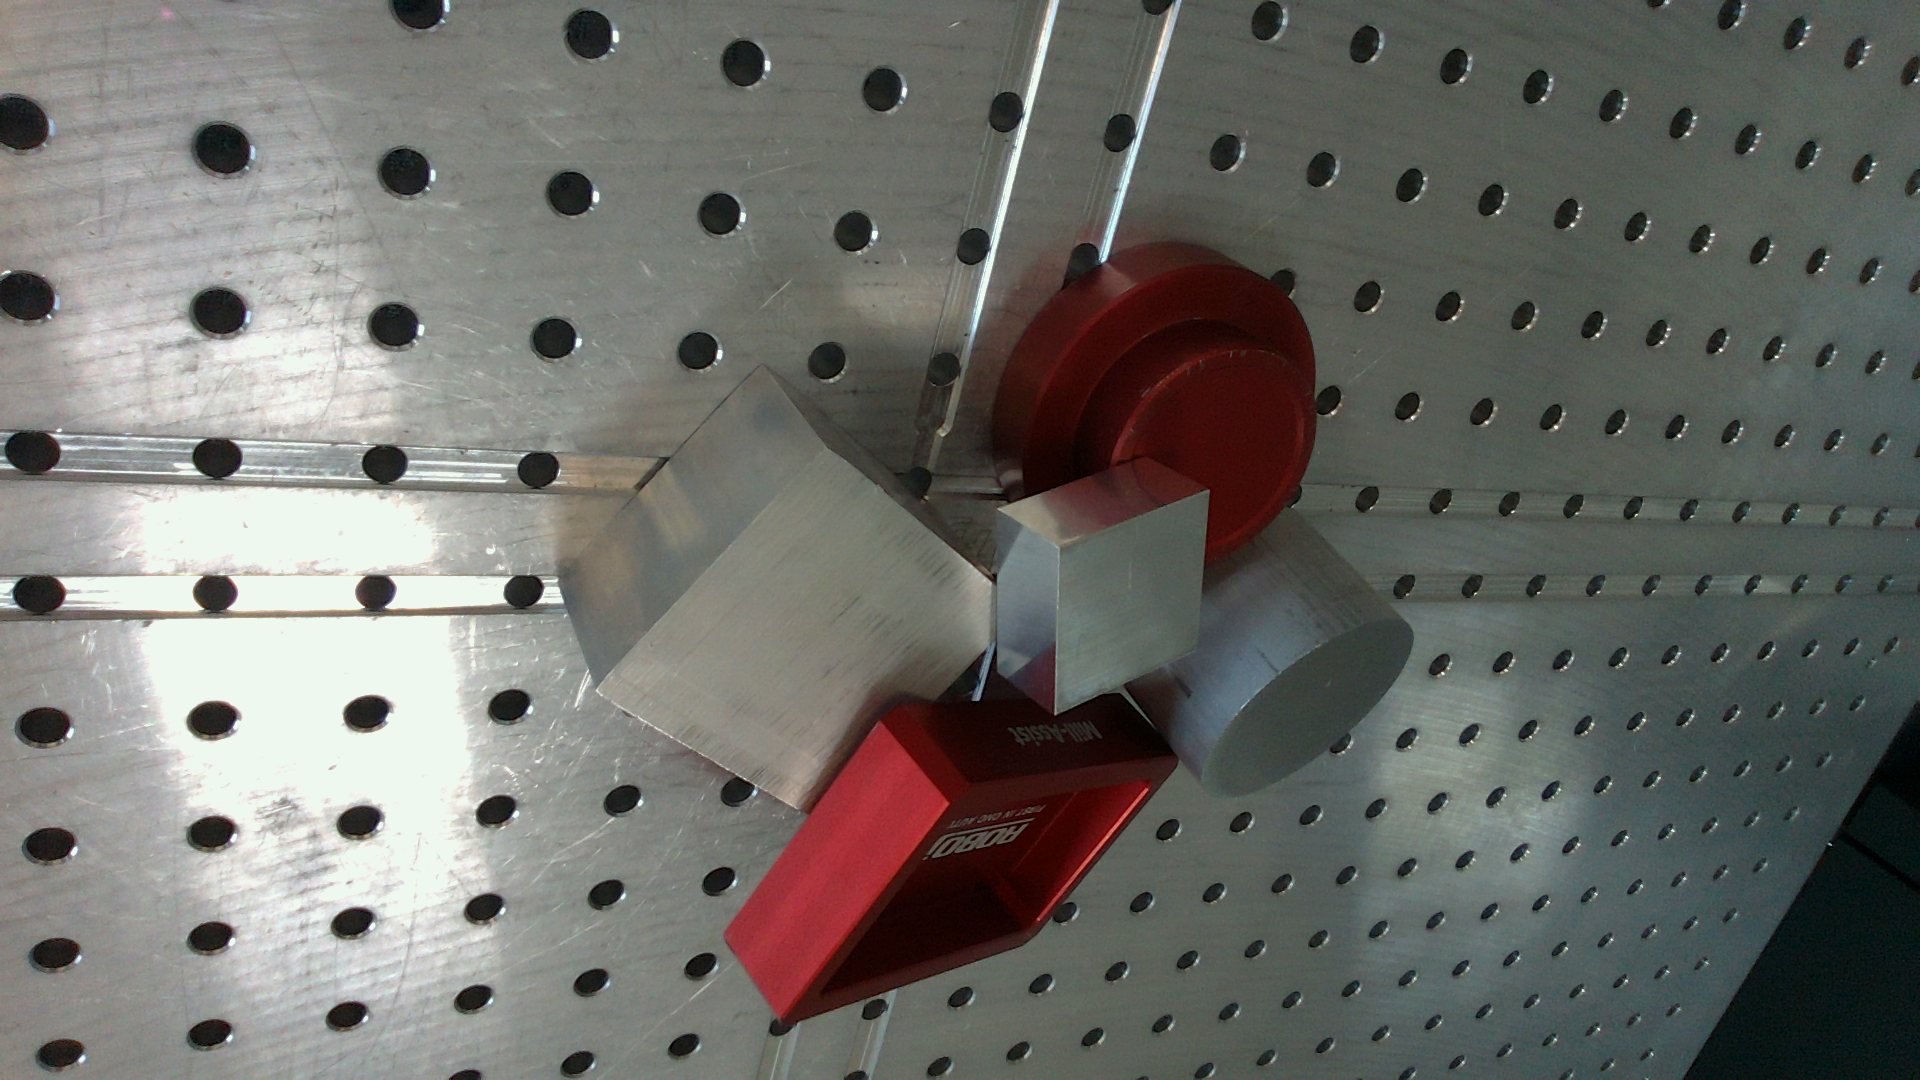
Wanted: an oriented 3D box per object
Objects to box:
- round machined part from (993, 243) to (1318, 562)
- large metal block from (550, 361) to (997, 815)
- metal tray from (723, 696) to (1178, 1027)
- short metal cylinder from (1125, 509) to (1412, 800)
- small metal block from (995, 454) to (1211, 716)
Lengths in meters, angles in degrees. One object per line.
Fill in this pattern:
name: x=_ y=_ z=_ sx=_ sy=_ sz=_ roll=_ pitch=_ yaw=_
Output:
round machined part: x=0.062 y=-0.031 z=0.395 sx=0.098 sy=0.042 sz=0.098 roll=-14 pitch=124 yaw=-21
large metal block: x=-0.045 y=0.015 z=0.361 sx=0.080 sy=0.050 sz=0.080 roll=-46 pitch=129 yaw=4
metal tray: x=0.003 y=0.090 z=0.409 sx=0.131 sy=0.030 sz=0.090 roll=6 pitch=125 yaw=-56
short metal cylinder: x=0.094 y=0.036 z=0.434 sx=0.080 sy=0.050 sz=0.080 roll=-25 pitch=144 yaw=-19
small metal block: x=0.037 y=0.011 z=0.359 sx=0.050 sy=0.025 sz=0.050 roll=-20 pitch=124 yaw=-30
